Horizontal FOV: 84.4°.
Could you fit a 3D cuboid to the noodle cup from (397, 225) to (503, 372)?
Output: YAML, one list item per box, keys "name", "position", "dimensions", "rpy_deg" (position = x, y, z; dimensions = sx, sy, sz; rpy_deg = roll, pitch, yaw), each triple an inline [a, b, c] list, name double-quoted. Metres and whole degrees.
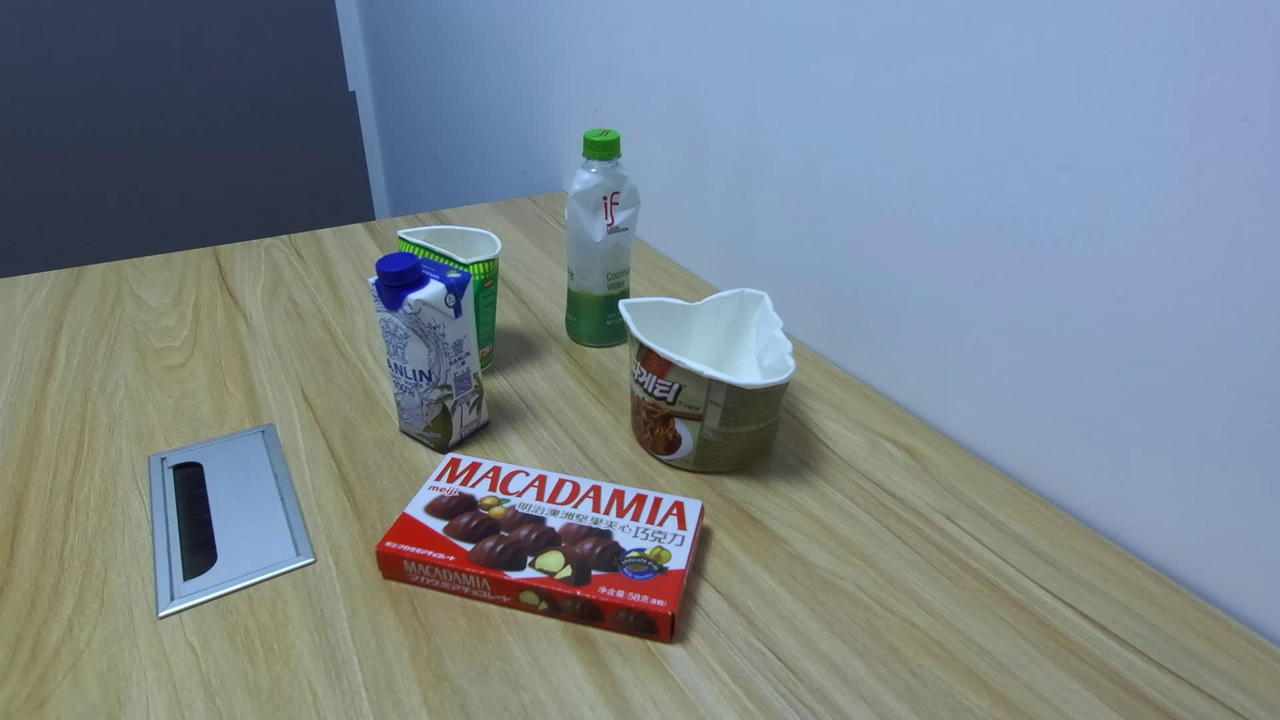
- name: "noodle cup"
  position: [-0.160, -0.048, 0.602]
  dimensions: [0.075, 0.122, 0.082]
  rpy_deg: [-6, 23, -28]

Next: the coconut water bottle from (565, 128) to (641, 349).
- name: "coconut water bottle"
  position: [-0.035, -0.105, 0.624]
  dimensions: [0.067, 0.187, 0.067]
  rpy_deg: [2, 31, -1]

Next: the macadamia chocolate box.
- name: "macadamia chocolate box"
  position: [-0.057, 0.110, 0.434]
  dimensions: [0.177, 0.027, 0.095]
  rpy_deg: [9, 32, 12]

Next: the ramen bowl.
- name: "ramen bowl"
  position: [0.053, 0.018, 0.514]
  dimensions: [0.114, 0.097, 0.133]
  rpy_deg: [-7, 31, -14]

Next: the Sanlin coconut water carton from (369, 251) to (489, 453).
- name: "Sanlin coconut water carton"
  position: [-0.151, -0.009, 0.509]
  dimensions: [0.060, 0.144, 0.061]
  rpy_deg: [19, 34, 29]
